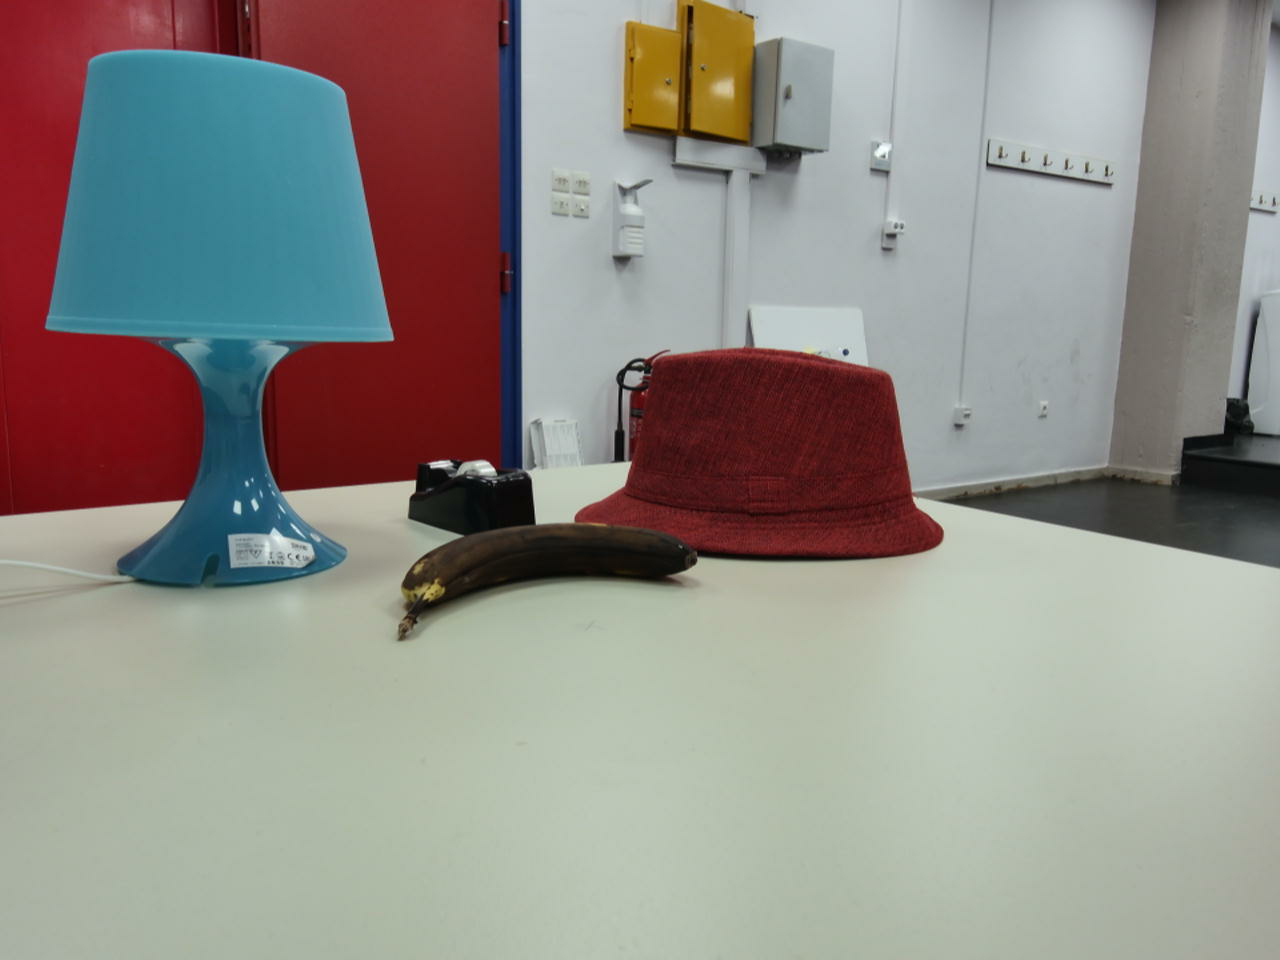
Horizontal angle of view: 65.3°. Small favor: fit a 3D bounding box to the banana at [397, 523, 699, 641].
[{"bbox_3d":[-0.062,0.047,0.570,0.188,0.033,0.091,-5,9,-35],"label":"banana"}]
